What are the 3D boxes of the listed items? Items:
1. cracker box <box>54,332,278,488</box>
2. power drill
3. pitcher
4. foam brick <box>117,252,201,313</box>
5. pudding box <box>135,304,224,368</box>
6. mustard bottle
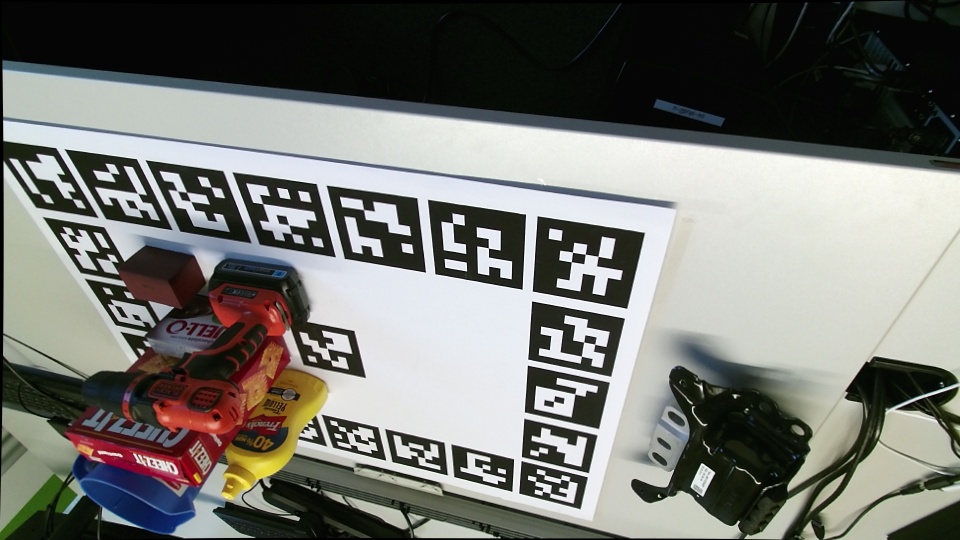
[{"bbox_3d":[-0.398,0.163,0.706,0.165,0.213,0.072,6,130,10],"label":"cracker box"},{"bbox_3d":[-0.334,0.096,0.613,0.185,0.186,0.057,8,132,12],"label":"power drill"},{"bbox_3d":[-0.445,0.239,0.775,0.189,0.241,0.133,13,129,5],"label":"pitcher"},{"bbox_3d":[-0.425,0.015,0.712,0.078,0.051,0.053,11,127,10],"label":"foam brick"},{"bbox_3d":[-0.377,0.094,0.716,0.114,0.089,0.038,8,130,8],"label":"pudding box"},{"bbox_3d":[-0.313,0.252,0.758,0.096,0.191,0.058,19,129,2],"label":"mustard bottle"}]
